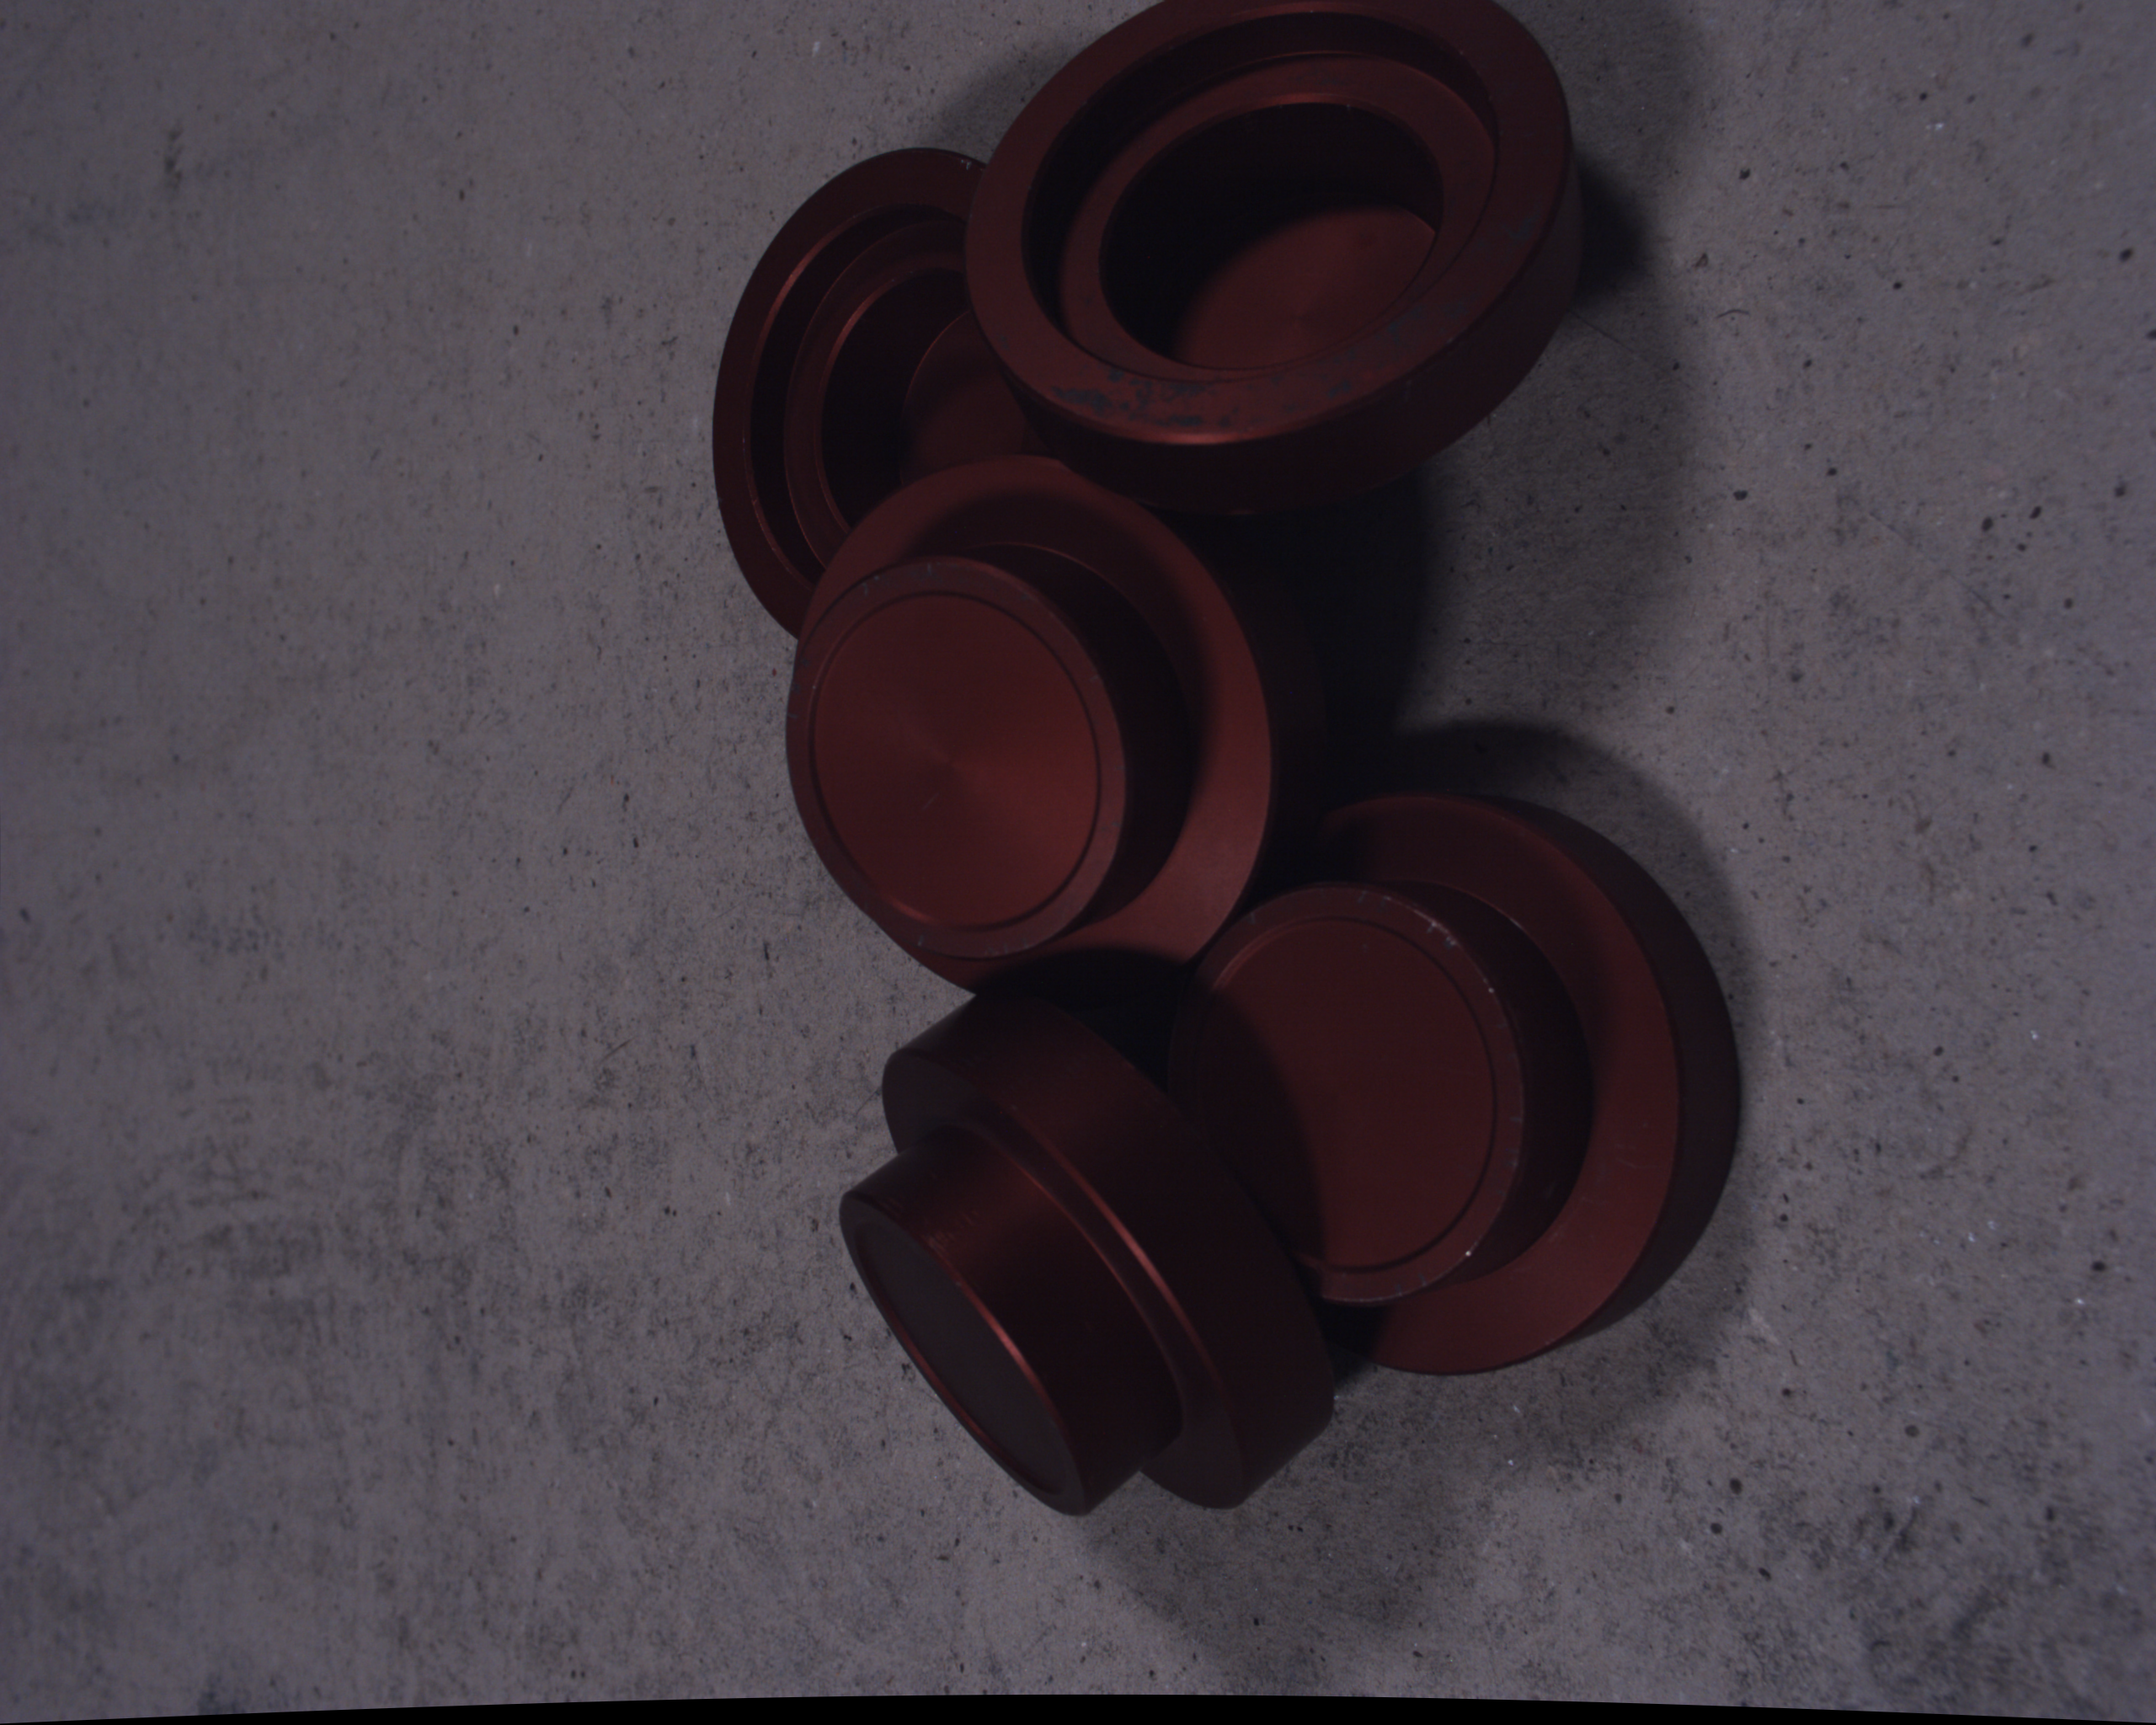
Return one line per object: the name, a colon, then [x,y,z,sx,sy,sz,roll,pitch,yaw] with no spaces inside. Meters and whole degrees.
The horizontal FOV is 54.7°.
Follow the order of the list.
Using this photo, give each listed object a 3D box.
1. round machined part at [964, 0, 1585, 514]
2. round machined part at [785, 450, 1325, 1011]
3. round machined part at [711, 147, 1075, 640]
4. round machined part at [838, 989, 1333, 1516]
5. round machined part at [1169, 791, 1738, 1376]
round machined part: [0.034,-0.099,0.347,0.098,0.042,0.098,-8,62,16]
round machined part: [-0.011,-0.021,0.359,0.098,0.042,0.097,7,104,30]
round machined part: [-0.025,-0.087,0.414,0.098,0.042,0.097,0,90,39]
round machined part: [-0.005,0.074,0.365,0.098,0.042,0.097,43,154,27]
round machined part: [0.055,0.037,0.349,0.098,0.042,0.097,0,90,39]
